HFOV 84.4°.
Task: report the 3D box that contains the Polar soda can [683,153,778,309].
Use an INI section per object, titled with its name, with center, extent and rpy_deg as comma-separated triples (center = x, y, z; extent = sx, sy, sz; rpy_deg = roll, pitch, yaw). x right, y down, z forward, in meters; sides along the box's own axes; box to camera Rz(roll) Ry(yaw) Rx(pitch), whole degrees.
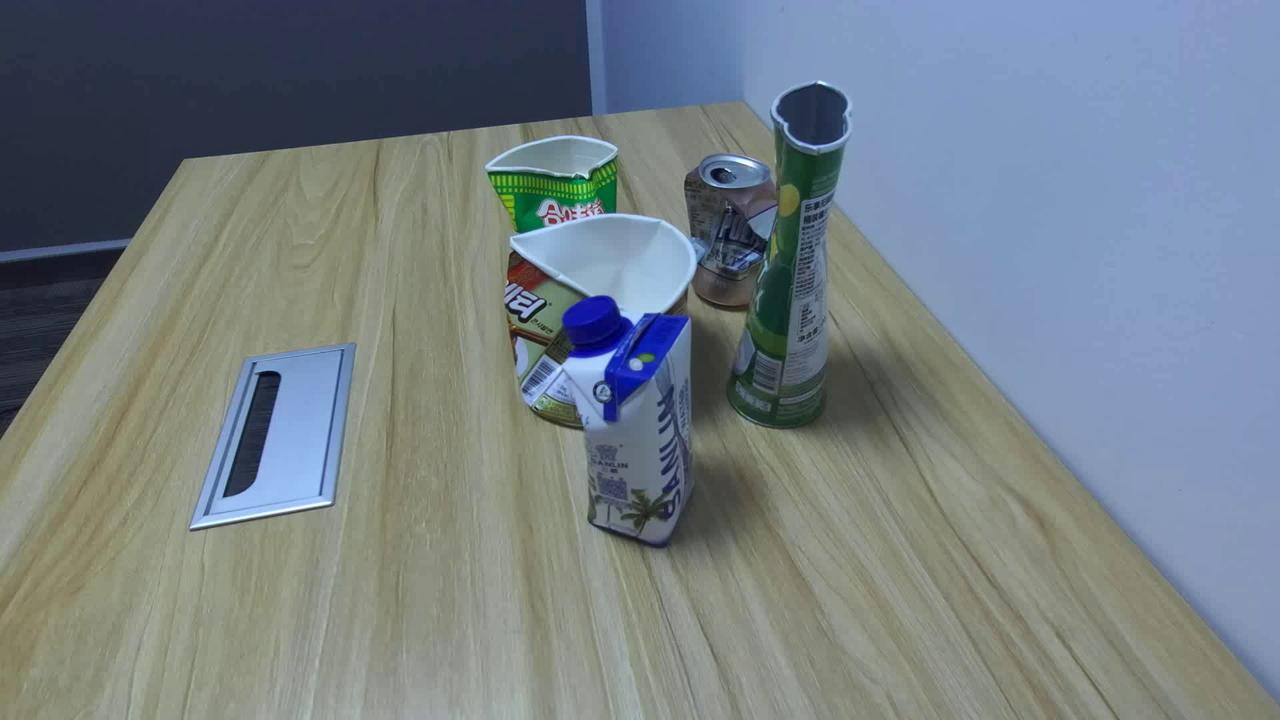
[Polar soda can]
center = 0.076, -0.103, 0.565
extent = 0.074, 0.114, 0.070
rpy_deg = -6, 48, -1

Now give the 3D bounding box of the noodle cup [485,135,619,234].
[noodle cup]
center = -0.058, -0.112, 0.571
extent = 0.082, 0.122, 0.075
rpy_deg = 8, 33, 26

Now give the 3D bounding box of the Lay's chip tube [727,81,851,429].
[Lay's chip tube]
center = 0.092, -0.051, 0.422
extent = 0.069, 0.200, 0.074
rpy_deg = -22, 44, -22

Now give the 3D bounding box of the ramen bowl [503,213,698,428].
[ramen bowl]
center = -0.024, -0.025, 0.480
extent = 0.137, 0.098, 0.137
rpy_deg = 0, 44, 0

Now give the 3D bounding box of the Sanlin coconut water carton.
[Sanlin coconut water carton]
center = -0.003, 0.032, 0.379
extent = 0.057, 0.142, 0.078
rpy_deg = 9, 41, 22
